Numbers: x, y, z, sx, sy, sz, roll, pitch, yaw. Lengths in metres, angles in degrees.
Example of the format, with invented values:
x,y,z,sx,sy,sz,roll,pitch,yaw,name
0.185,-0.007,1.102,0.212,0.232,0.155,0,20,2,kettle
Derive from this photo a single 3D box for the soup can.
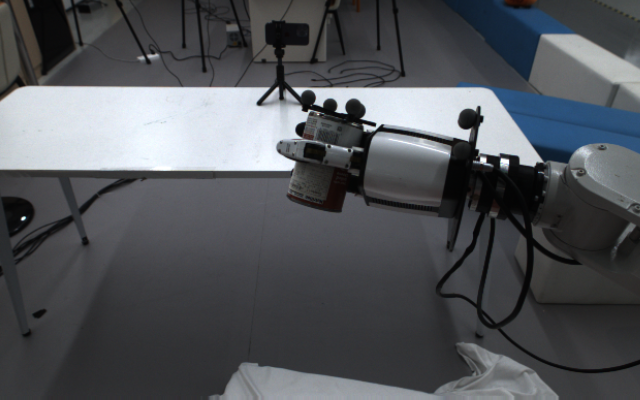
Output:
x,y,z,sx,sy,sz,roll,pitch,yaw,name
0.007,-0.044,0.559,0.067,0.101,0.067,15,7,-2,soup can
